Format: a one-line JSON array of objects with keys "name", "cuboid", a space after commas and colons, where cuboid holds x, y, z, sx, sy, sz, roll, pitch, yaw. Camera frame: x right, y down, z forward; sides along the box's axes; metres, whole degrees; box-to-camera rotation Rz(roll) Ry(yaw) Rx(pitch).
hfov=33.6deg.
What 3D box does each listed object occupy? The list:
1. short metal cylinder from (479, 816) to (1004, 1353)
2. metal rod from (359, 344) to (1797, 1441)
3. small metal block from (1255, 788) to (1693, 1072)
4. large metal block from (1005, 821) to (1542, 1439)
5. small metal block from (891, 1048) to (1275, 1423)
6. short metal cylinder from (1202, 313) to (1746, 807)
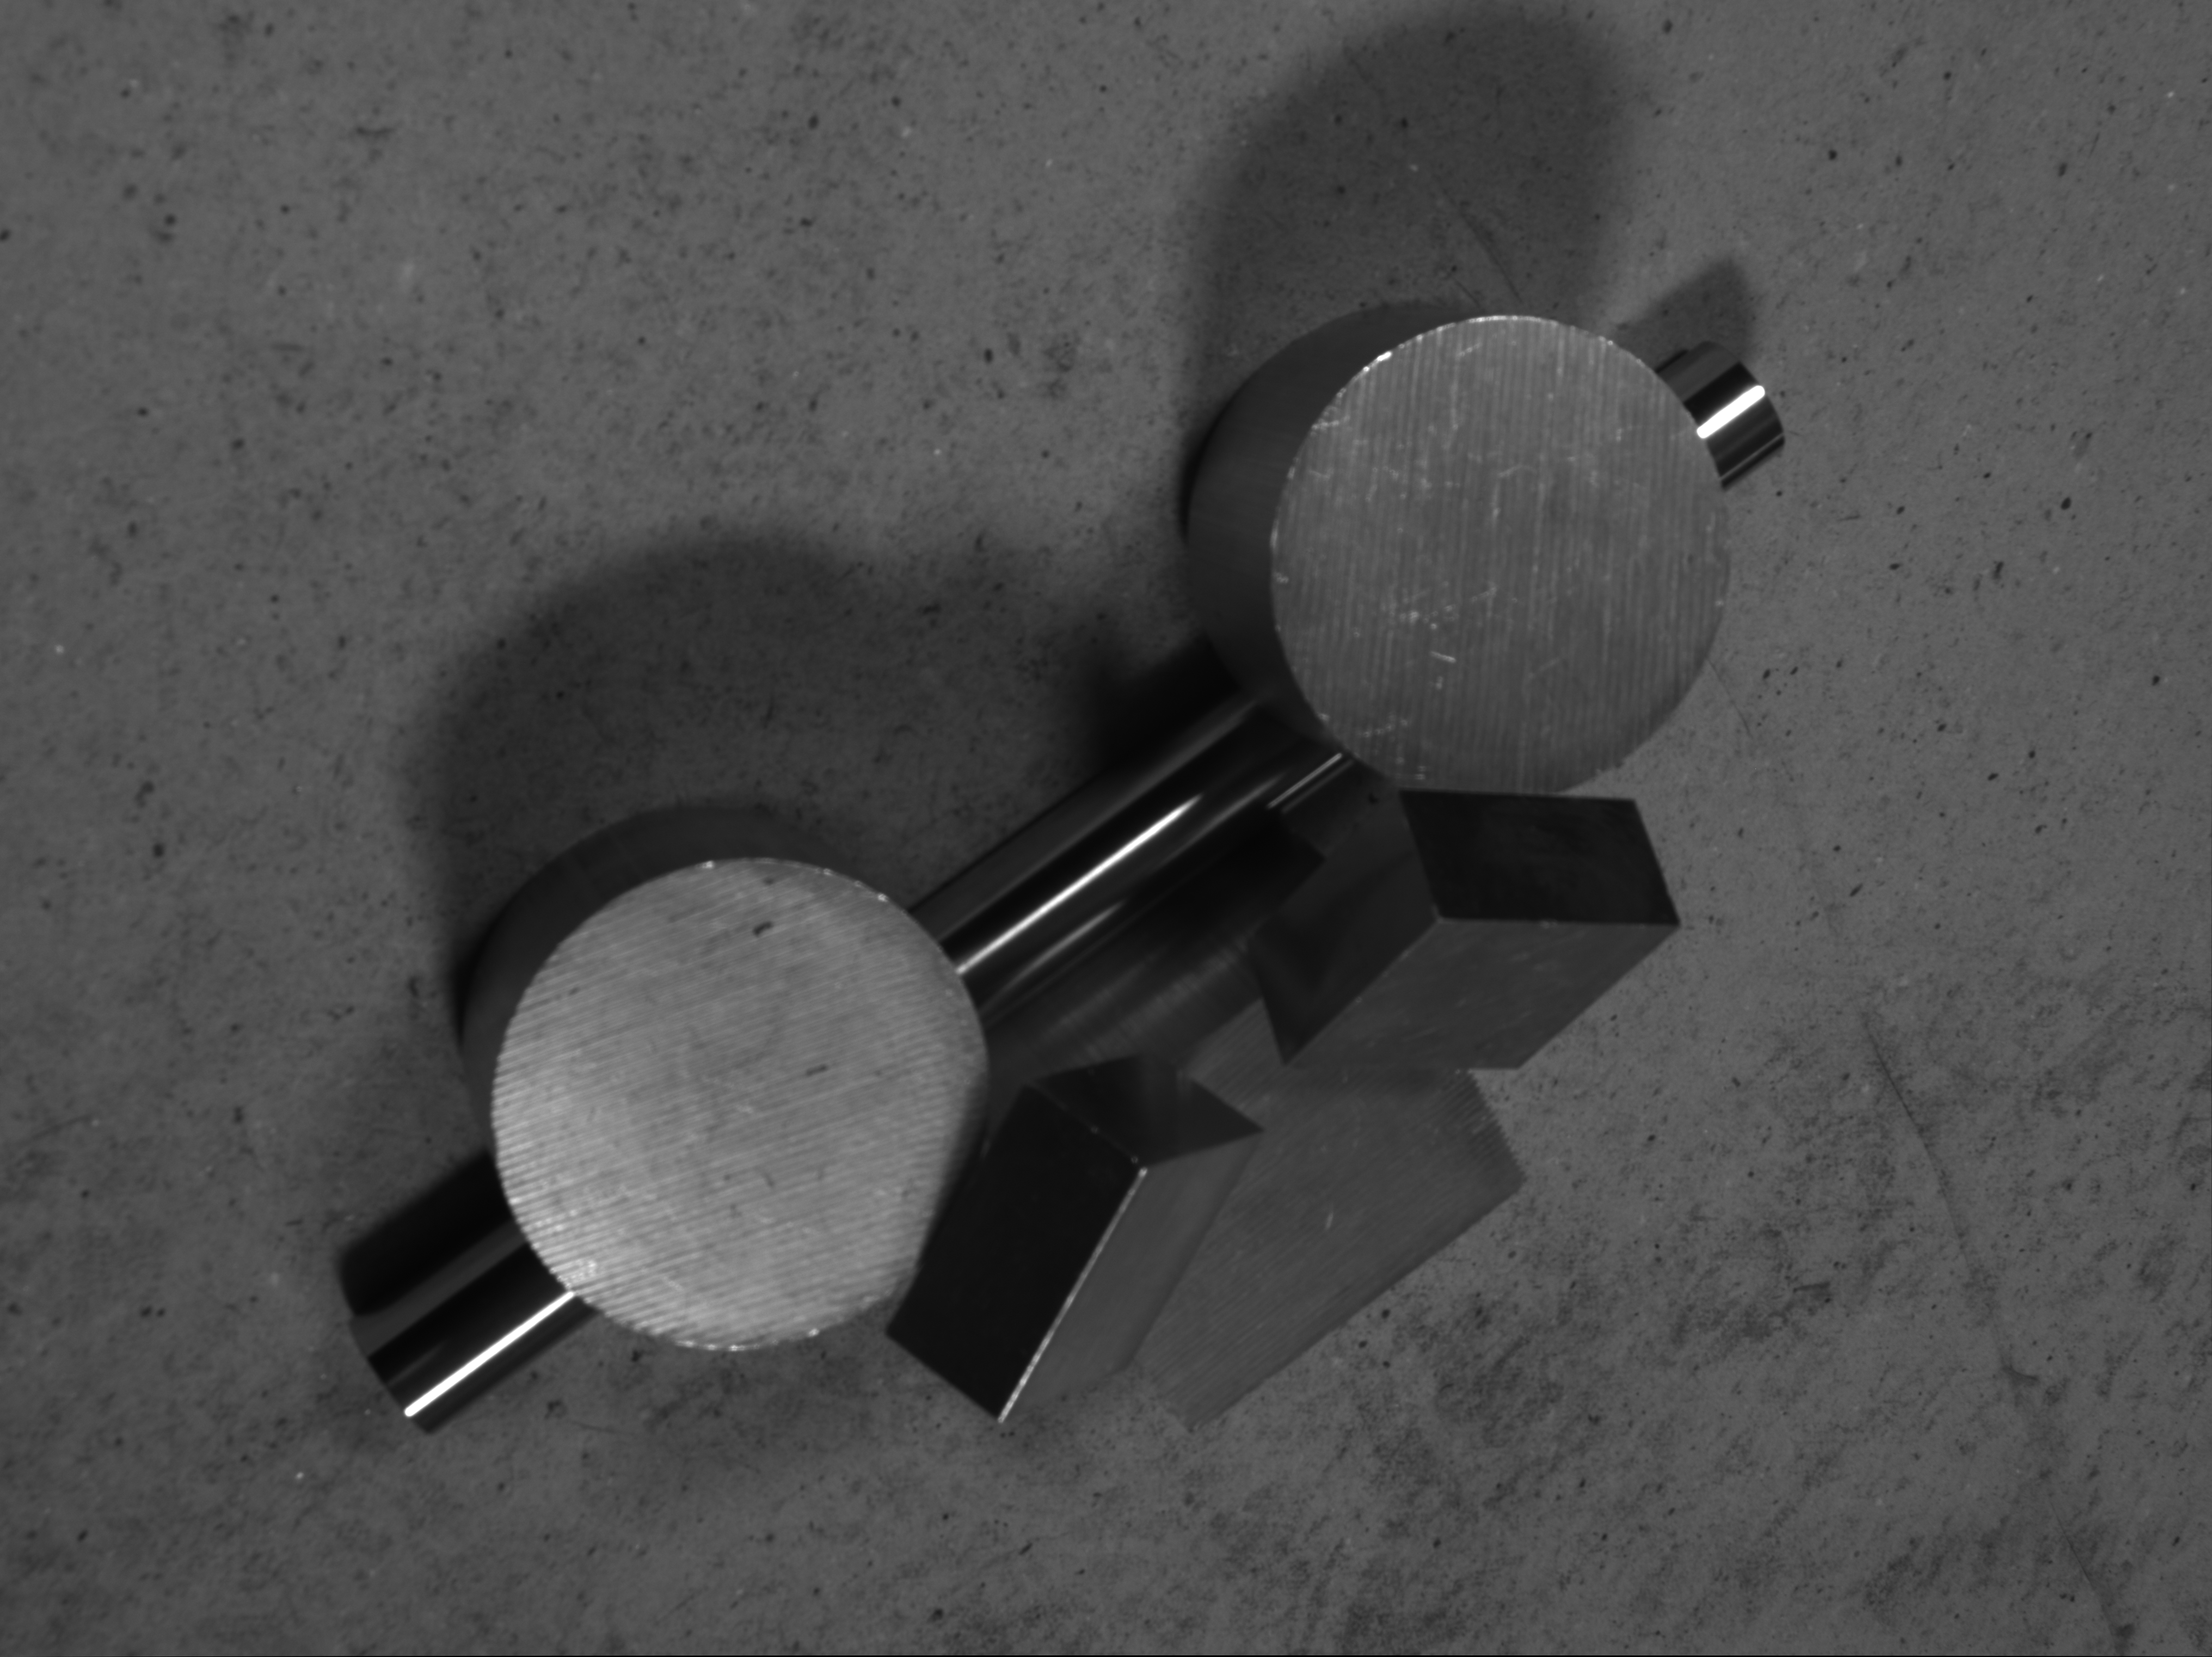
[{"name": "short metal cylinder", "cuboid": [-0.061, 0.041, 0.606, 0.080, 0.050, 0.080, -2, 100, -14]}, {"name": "metal rod", "cuboid": [-0.002, 0.009, 0.655, 0.300, 0.025, 0.025, -36, 130, -6]}, {"name": "small metal block", "cuboid": [0.061, 0.018, 0.616, 0.050, 0.025, 0.050, 2, 147, -31]}, {"name": "large metal block", "cuboid": [0.023, 0.052, 0.678, 0.080, 0.050, 0.080, -36, 130, -6]}, {"name": "small metal block", "cuboid": [-0.003, 0.067, 0.609, 0.050, 0.025, 0.050, -61, 160, 15]}, {"name": "short metal cylinder", "cuboid": [0.062, -0.047, 0.622, 0.080, 0.050, 0.080, -2, 100, -14]}]
